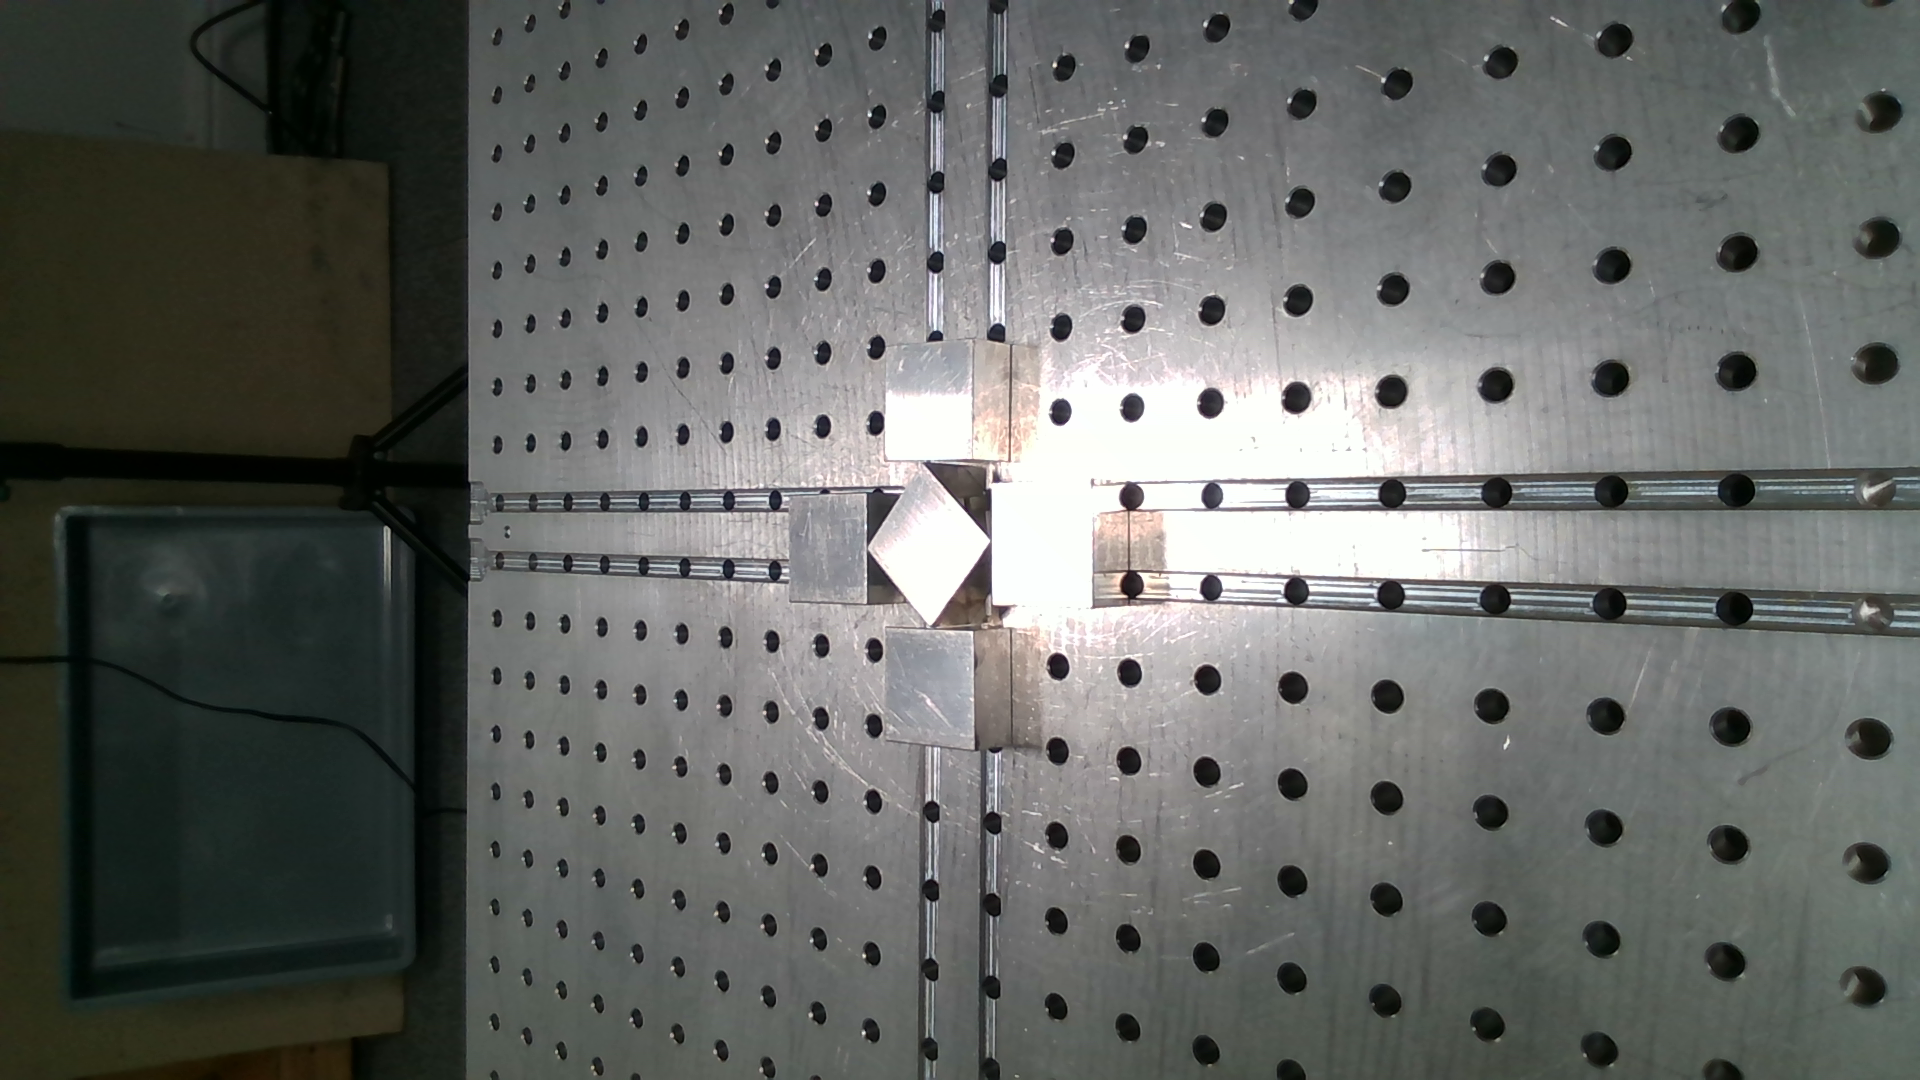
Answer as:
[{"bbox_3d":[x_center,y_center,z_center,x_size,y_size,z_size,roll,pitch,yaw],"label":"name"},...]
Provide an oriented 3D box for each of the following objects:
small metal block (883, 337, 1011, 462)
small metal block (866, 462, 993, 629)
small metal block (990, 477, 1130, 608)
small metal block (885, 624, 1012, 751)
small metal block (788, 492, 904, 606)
[{"bbox_3d":[-0.006,-0.059,0.589,0.050,0.025,0.050,2,92,40],"label":"small metal block"},{"bbox_3d":[-0.006,0.002,0.590,0.050,0.025,0.050,50,120,28],"label":"small metal block"},{"bbox_3d":[0.040,0.001,0.552,0.050,0.025,0.050,-1,90,40],"label":"small metal block"},{"bbox_3d":[-0.005,0.062,0.590,0.050,0.025,0.050,0,90,40],"label":"small metal block"},{"bbox_3d":[-0.052,0.004,0.629,0.050,0.025,0.050,0,91,40],"label":"small metal block"}]
